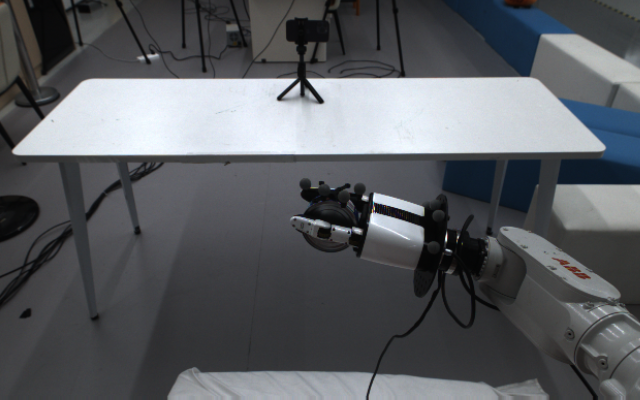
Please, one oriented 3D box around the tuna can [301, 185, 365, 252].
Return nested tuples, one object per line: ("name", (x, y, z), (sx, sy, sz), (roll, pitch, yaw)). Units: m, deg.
("tuna can", (0.017, 0.034, 0.726), (0.085, 0.085, 0.034), (6, 22, 6))
